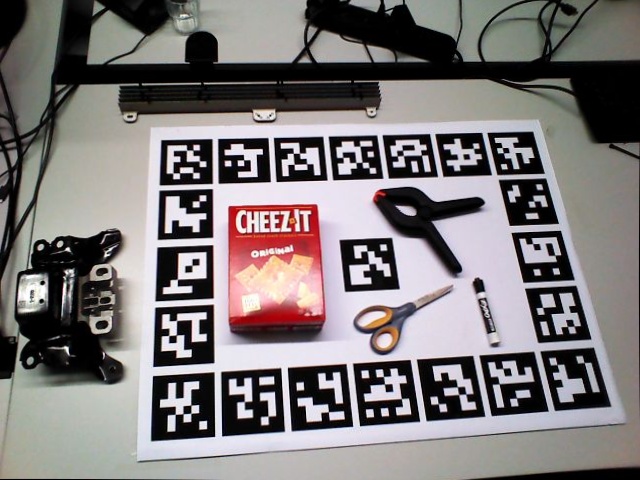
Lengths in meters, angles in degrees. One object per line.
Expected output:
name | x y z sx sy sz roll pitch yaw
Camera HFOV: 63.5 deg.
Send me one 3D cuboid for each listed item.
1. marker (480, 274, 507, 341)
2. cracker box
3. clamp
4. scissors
marker | 0.309 0.119 0.924 0.019 0.020 0.120 -5 67 -7
cracker box | -0.069 0.043 0.898 0.164 0.072 0.212 -1 67 -5
clamp | 0.202 -0.052 0.993 0.203 0.037 0.164 26 66 6
scissors | 0.166 0.120 0.913 0.202 0.016 0.087 -29 71 -18
